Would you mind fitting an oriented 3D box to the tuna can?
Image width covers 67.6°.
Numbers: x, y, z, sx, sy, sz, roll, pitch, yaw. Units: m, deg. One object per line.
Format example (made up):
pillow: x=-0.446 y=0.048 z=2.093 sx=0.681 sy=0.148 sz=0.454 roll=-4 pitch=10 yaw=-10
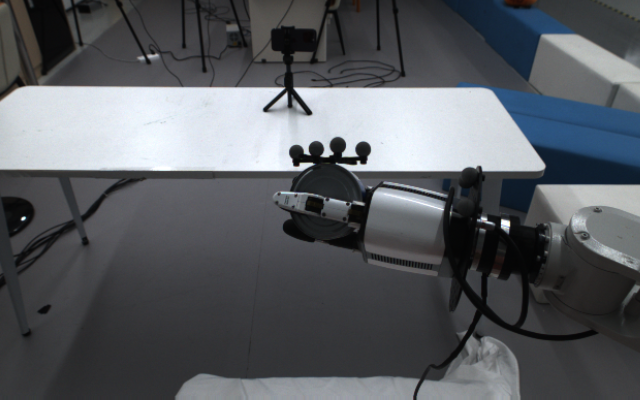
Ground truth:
tuna can: x=0.011 y=0.001 z=0.553 sx=0.085 sy=0.085 sz=0.034 roll=15 pitch=2 yaw=18
